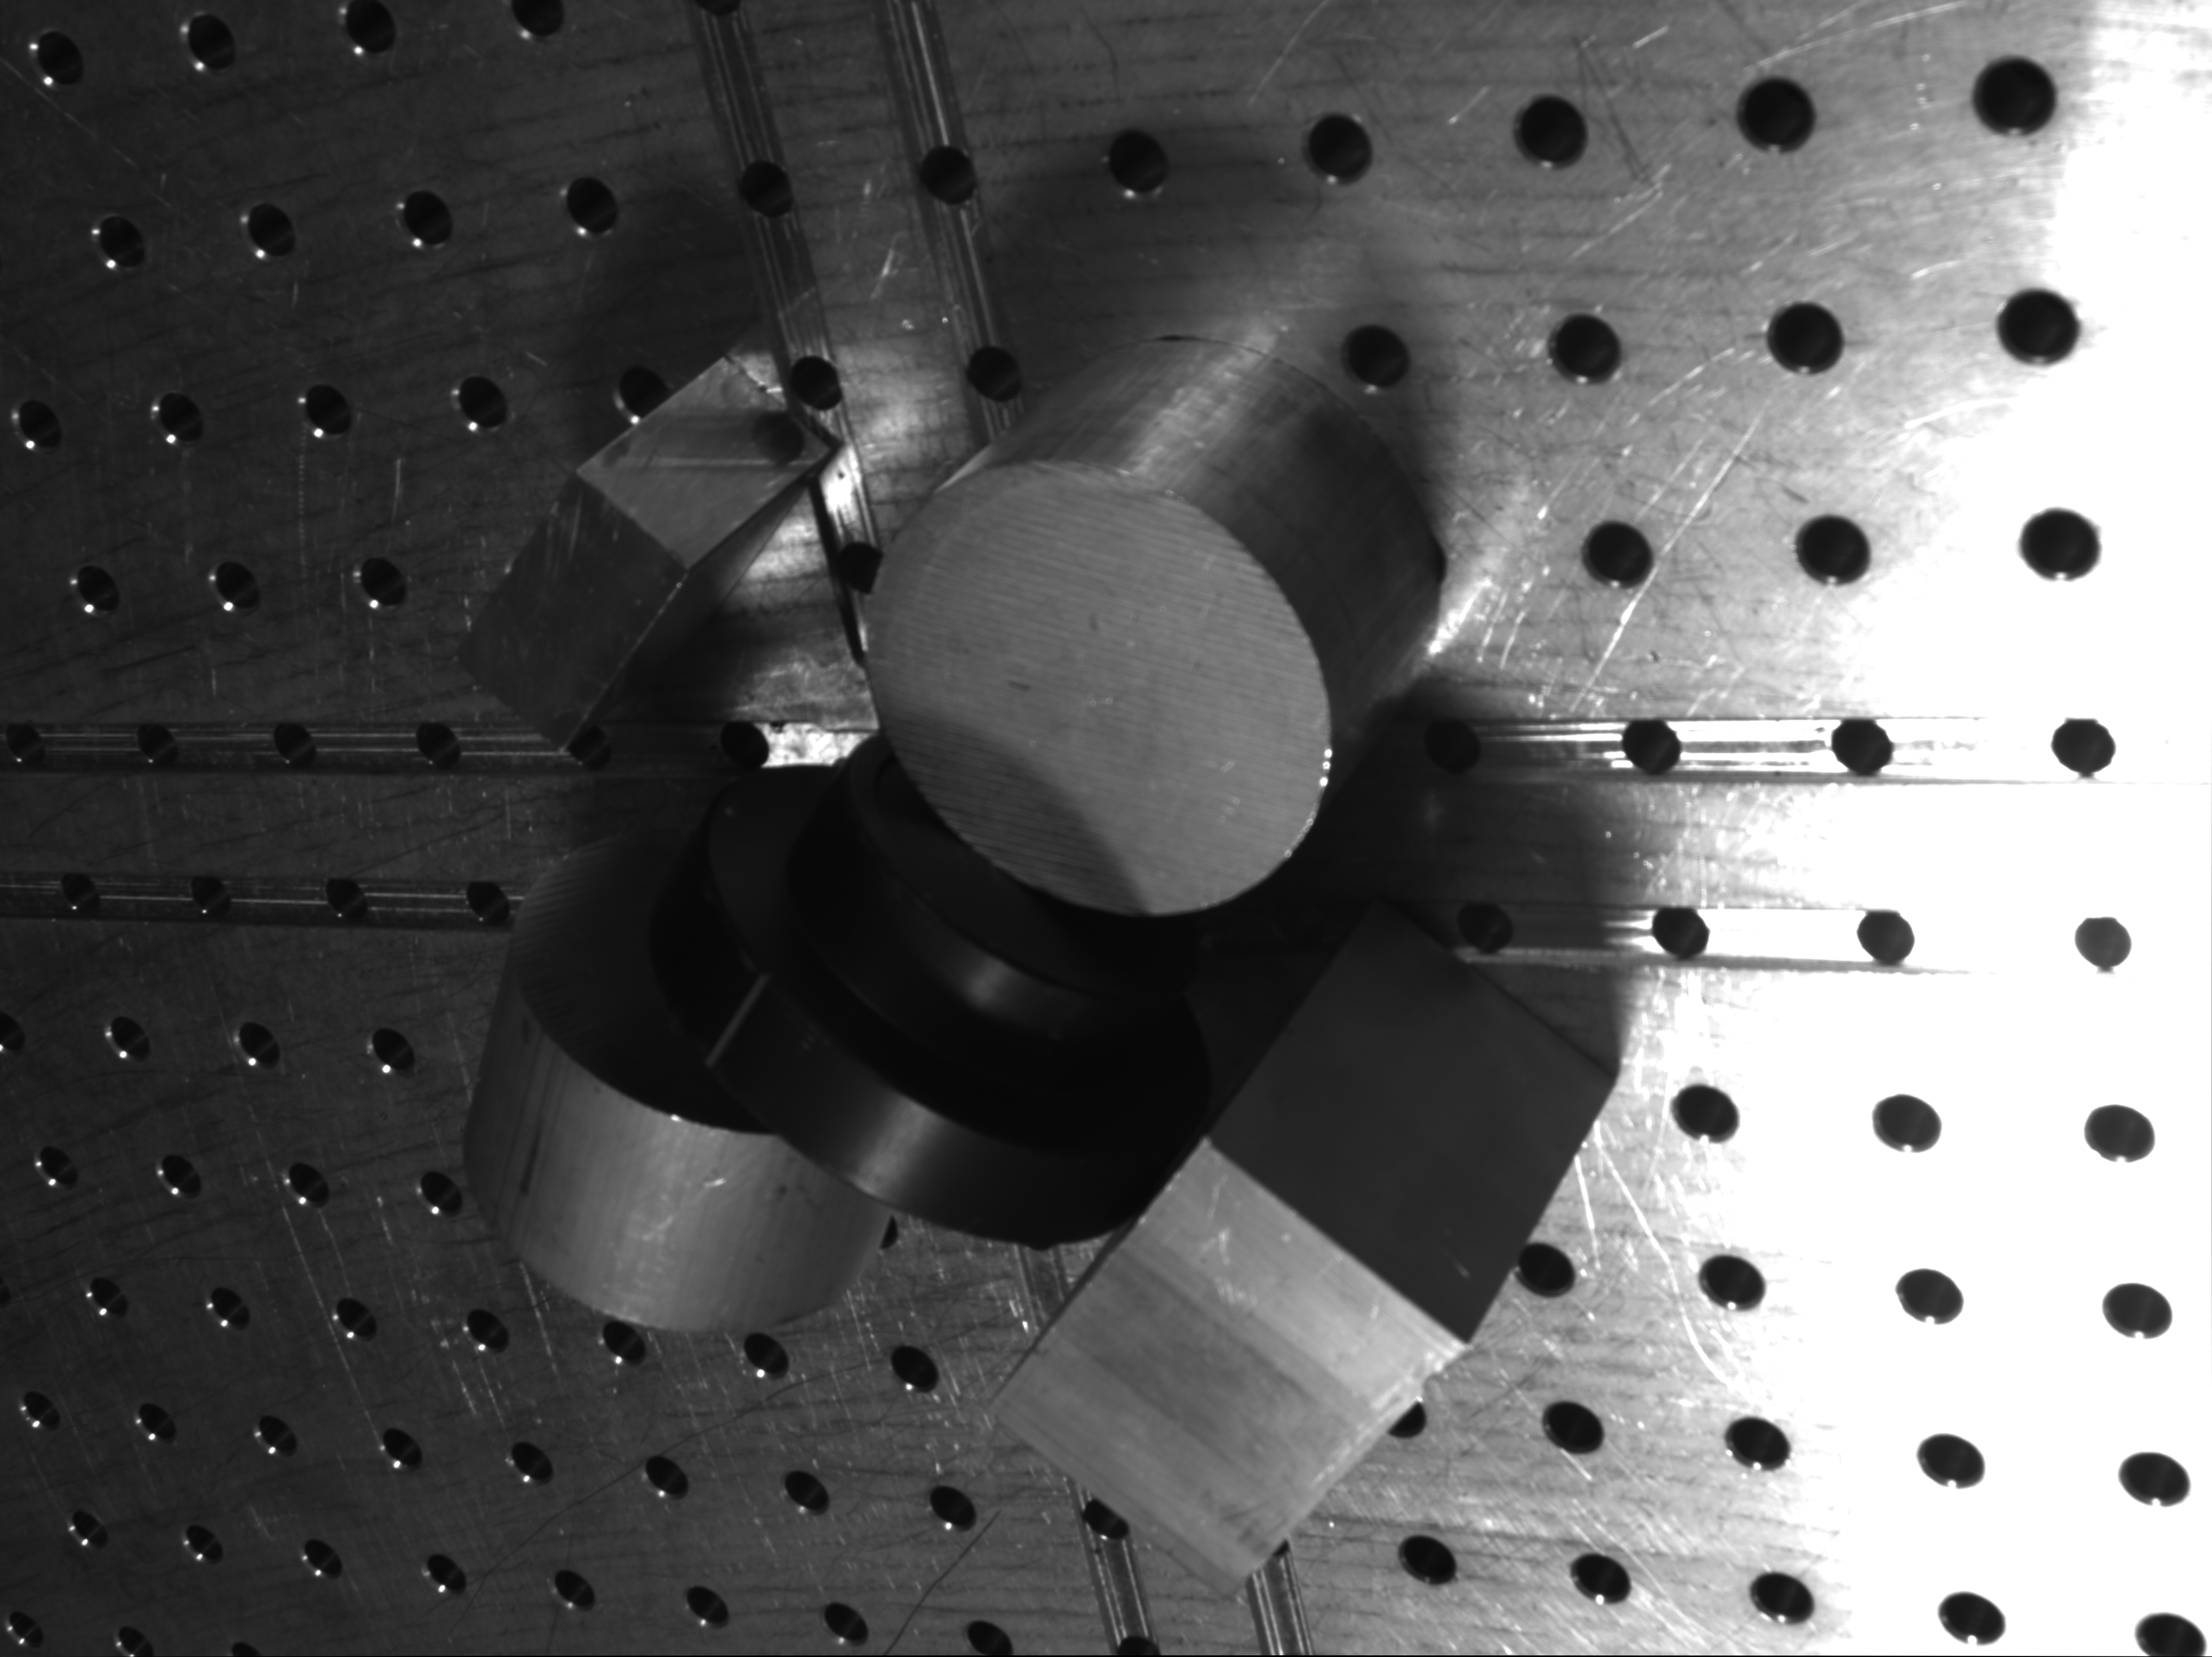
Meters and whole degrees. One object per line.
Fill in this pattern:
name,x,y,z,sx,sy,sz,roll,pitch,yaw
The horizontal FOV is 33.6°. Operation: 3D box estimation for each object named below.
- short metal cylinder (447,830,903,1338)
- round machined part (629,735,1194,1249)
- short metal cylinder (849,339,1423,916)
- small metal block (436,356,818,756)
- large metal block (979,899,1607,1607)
short metal cylinder,-0.075,0.045,0.663,0.080,0.080,0.050,27,127,10
round machined part,-0.027,0.021,0.614,0.098,0.098,0.042,36,116,3
short metal cylinder,0.005,-0.033,0.595,0.080,0.050,0.080,12,123,20
small metal block,-0.082,-0.047,0.631,0.025,0.050,0.050,41,128,-1
large metal block,0.032,0.072,0.627,0.050,0.080,0.080,37,128,2
